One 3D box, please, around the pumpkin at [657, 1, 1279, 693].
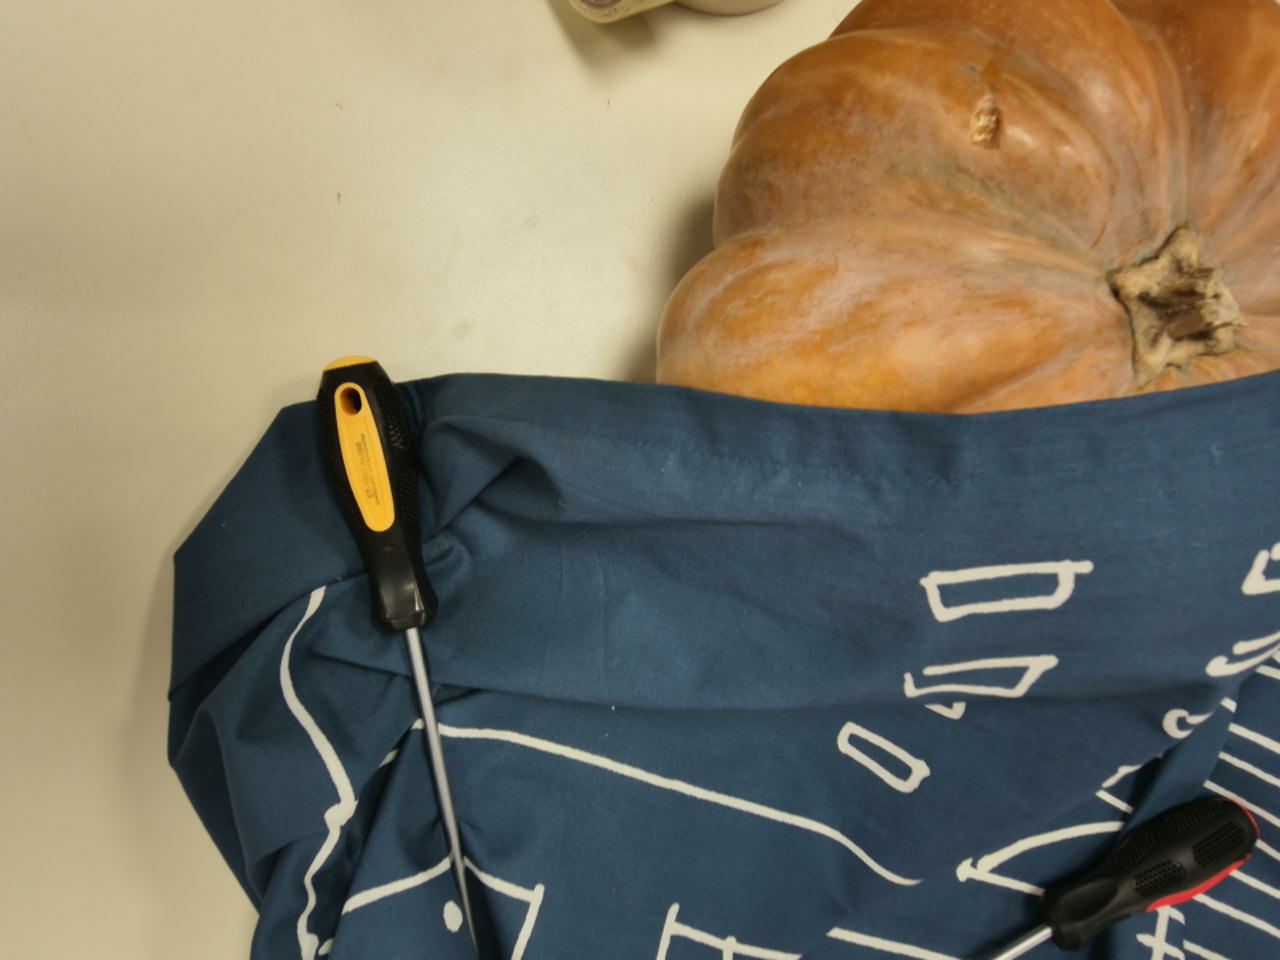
[{"bbox_3d":[0.142,-0.054,0.371,0.277,0.181,0.277,0,91,-12],"label":"pumpkin"}]
